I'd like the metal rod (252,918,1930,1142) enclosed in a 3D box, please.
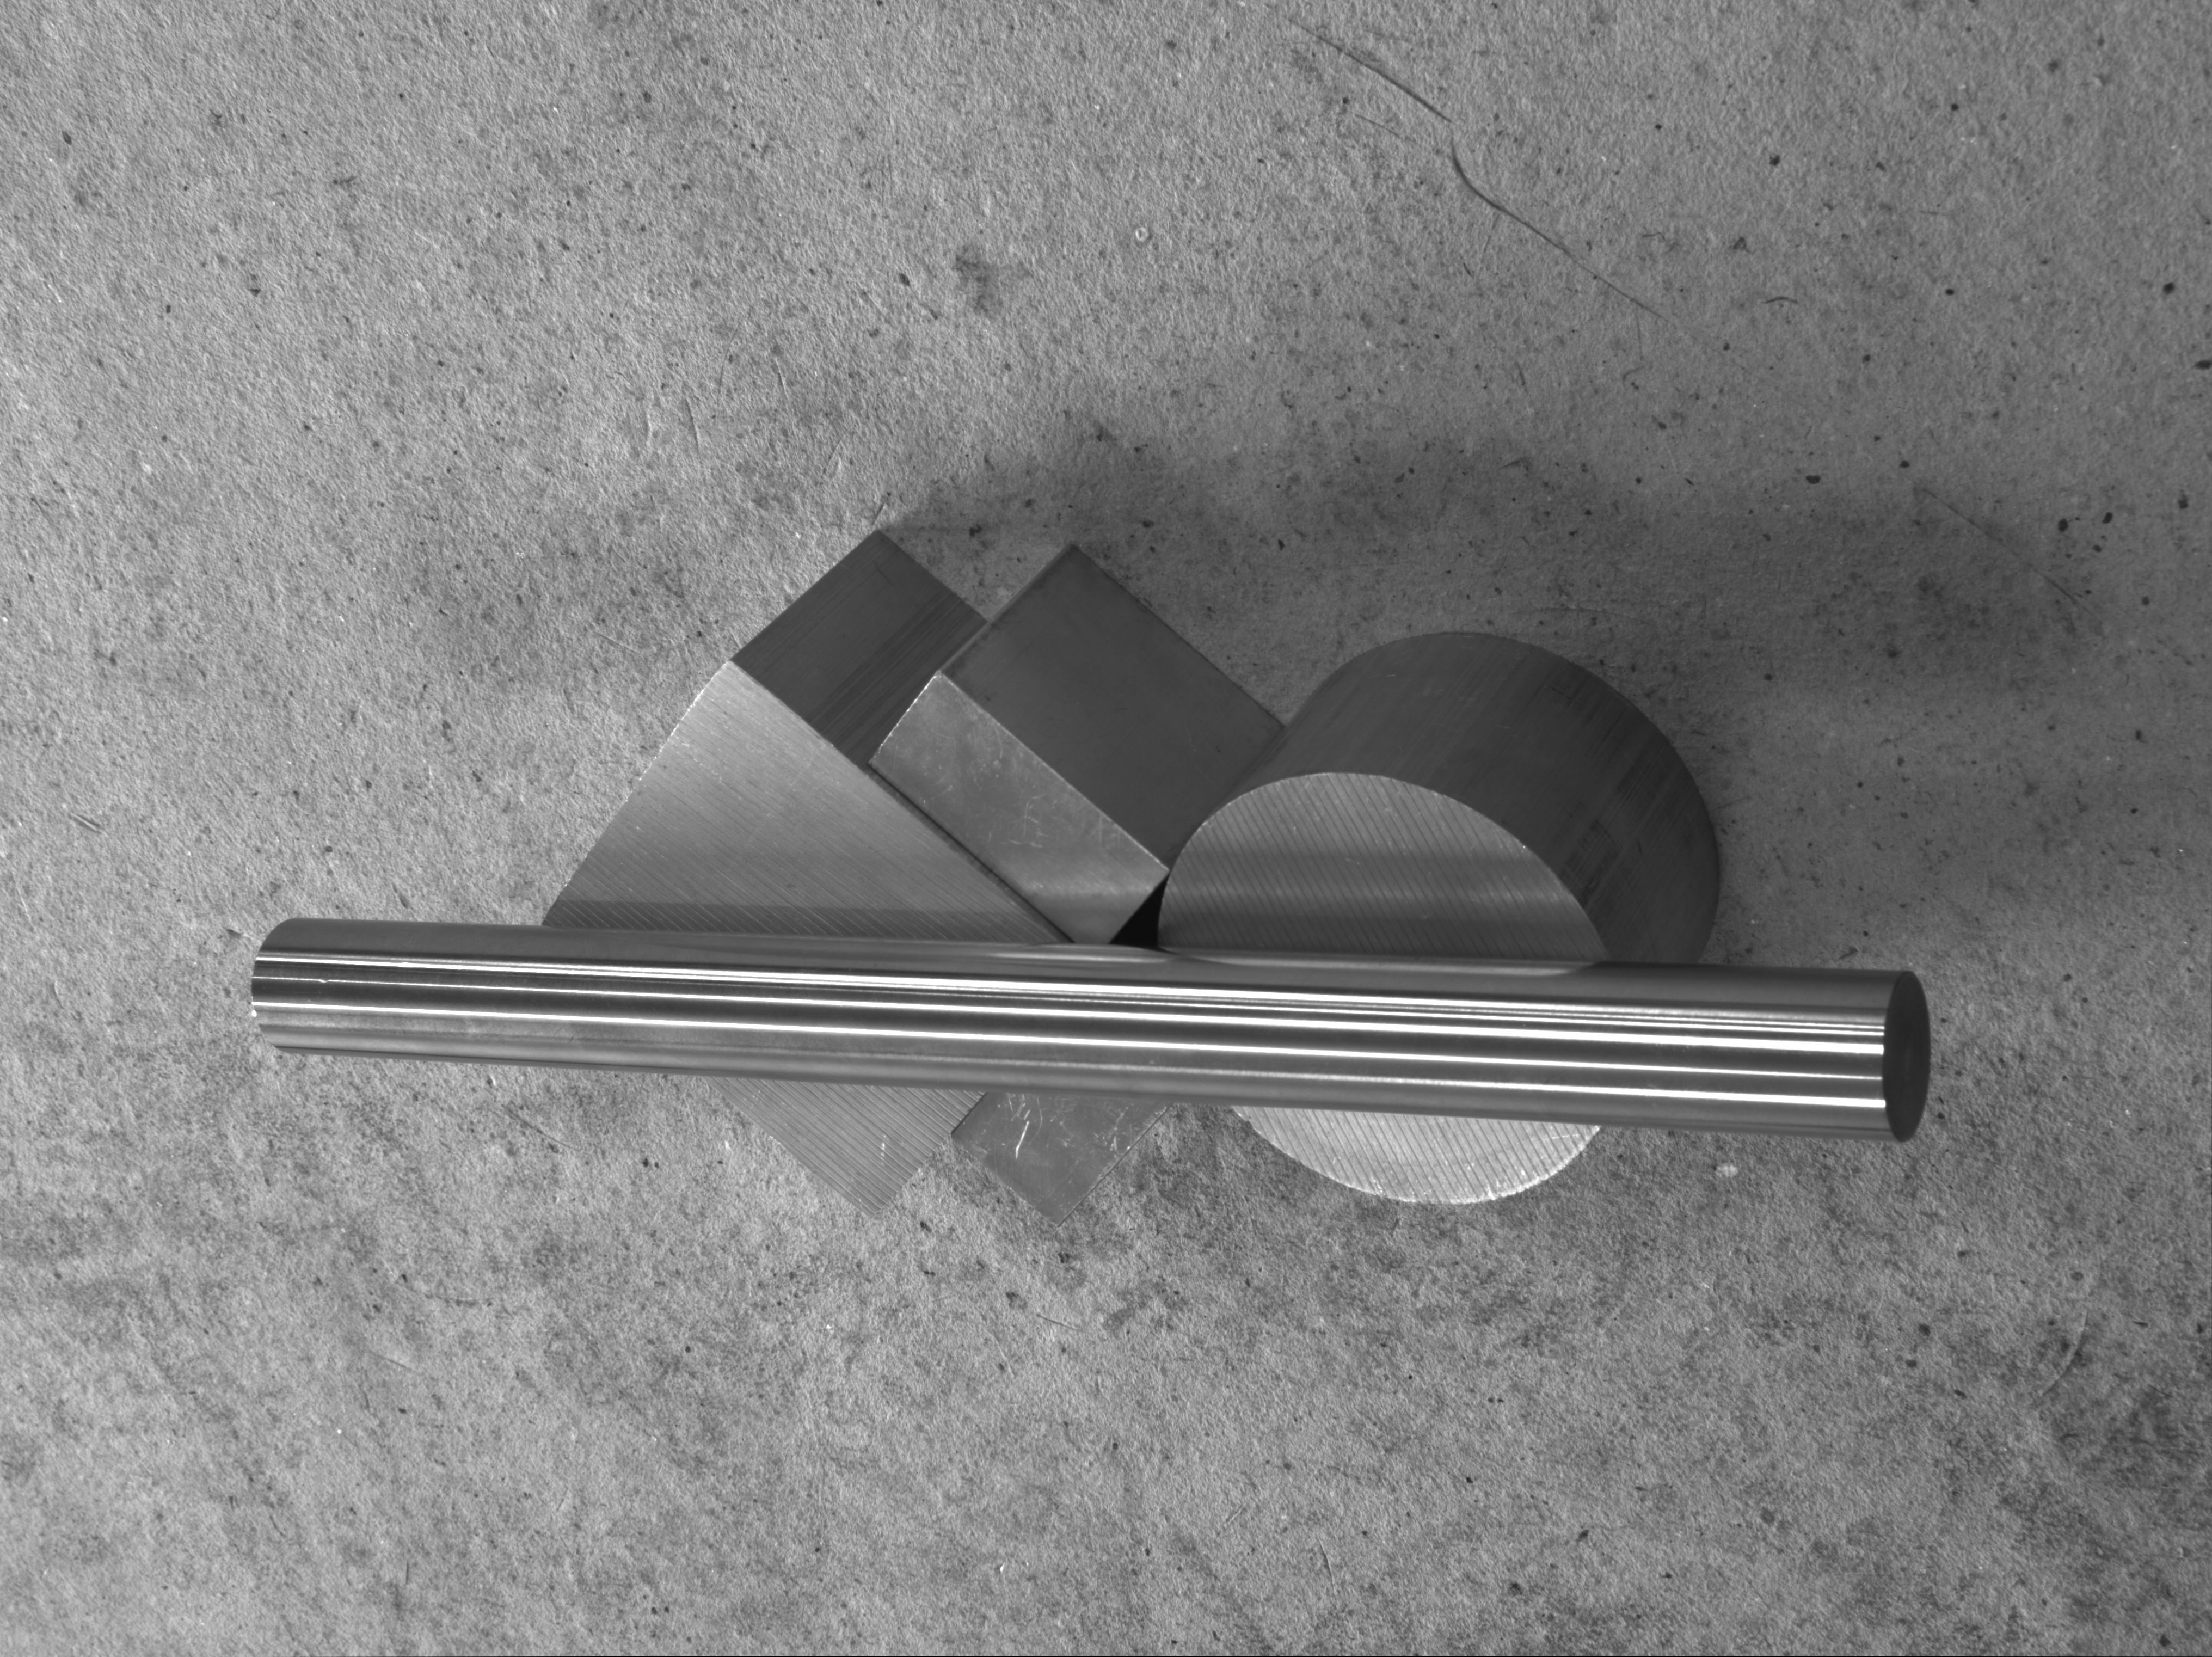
[{"bbox_3d":[-0.016,0.031,0.603,0.299,0.025,0.025,1,119,28],"label":"metal rod"}]

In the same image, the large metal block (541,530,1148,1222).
[{"bbox_3d":[-0.042,0.009,0.653,0.080,0.050,0.080,41,129,1],"label":"large metal block"}]

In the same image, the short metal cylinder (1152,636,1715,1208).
[{"bbox_3d":[0.054,0.015,0.606,0.080,0.050,0.080,13,124,21],"label":"short metal cylinder"}]

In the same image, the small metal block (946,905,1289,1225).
[{"bbox_3d":[0.004,0.034,0.647,0.025,0.050,0.050,40,129,1],"label":"small metal block"}]

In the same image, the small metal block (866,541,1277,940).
[{"bbox_3d":[-0.004,-0.014,0.621,0.050,0.050,0.025,40,129,0],"label":"small metal block"}]
